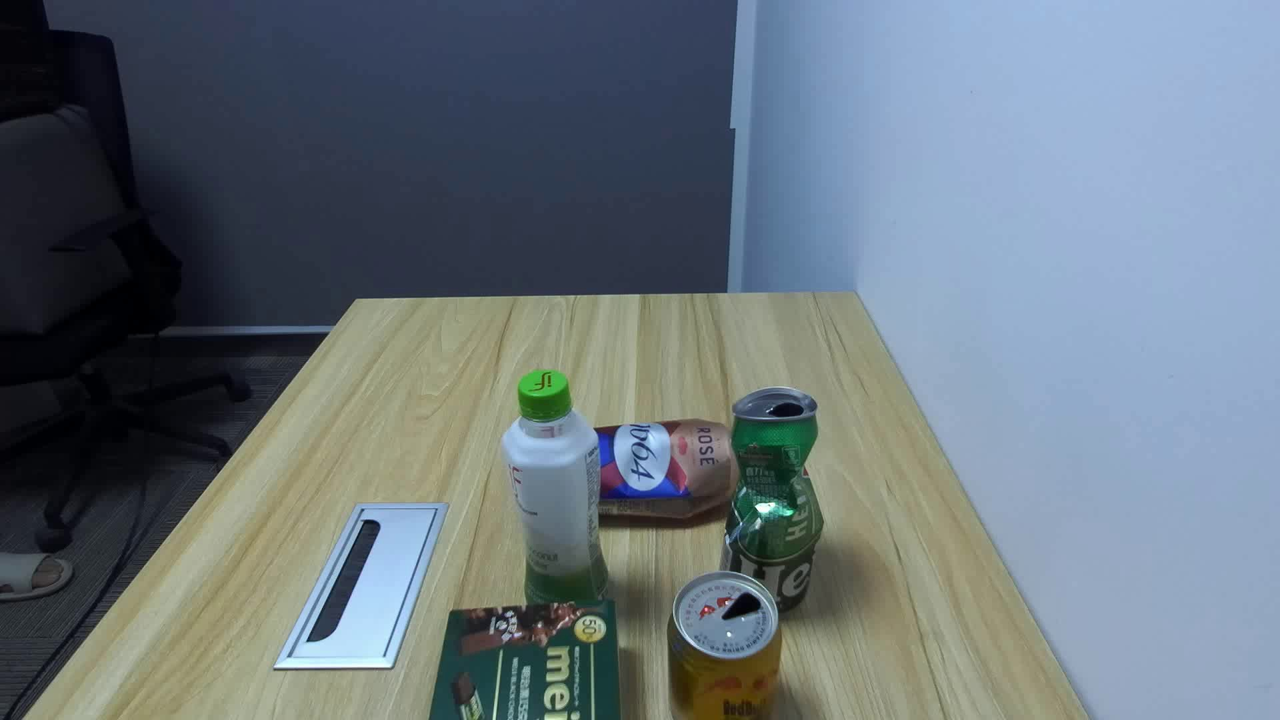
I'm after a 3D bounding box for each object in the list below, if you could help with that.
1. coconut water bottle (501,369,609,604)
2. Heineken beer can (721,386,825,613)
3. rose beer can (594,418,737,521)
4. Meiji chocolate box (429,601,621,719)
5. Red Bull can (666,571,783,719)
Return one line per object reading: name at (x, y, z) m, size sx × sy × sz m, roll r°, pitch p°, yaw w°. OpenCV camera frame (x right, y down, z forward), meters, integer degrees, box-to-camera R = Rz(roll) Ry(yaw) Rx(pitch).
coconut water bottle at (-0.056, 0.094, 0.474) m, size 0.063 × 0.189 × 0.063 m, roll -1°, pitch 31°, yaw 1°
Heineken beer can at (0.091, 0.101, 0.487) m, size 0.067 × 0.159 × 0.078 m, roll -12°, pitch 25°, yaw -24°
rose beer can at (0.003, 0.090, 0.595) m, size 0.168 × 0.069 × 0.070 m, roll -2°, pitch 15°, yaw -6°
Meiji chocolate box at (-0.065, 0.207, 0.423) m, size 0.109 × 0.056 × 0.109 m, roll -3°, pitch 32°, yaw -4°
Red Bull can at (0.050, 0.179, 0.421) m, size 0.069 × 0.092 × 0.069 m, roll -1°, pitch 33°, yaw 1°
